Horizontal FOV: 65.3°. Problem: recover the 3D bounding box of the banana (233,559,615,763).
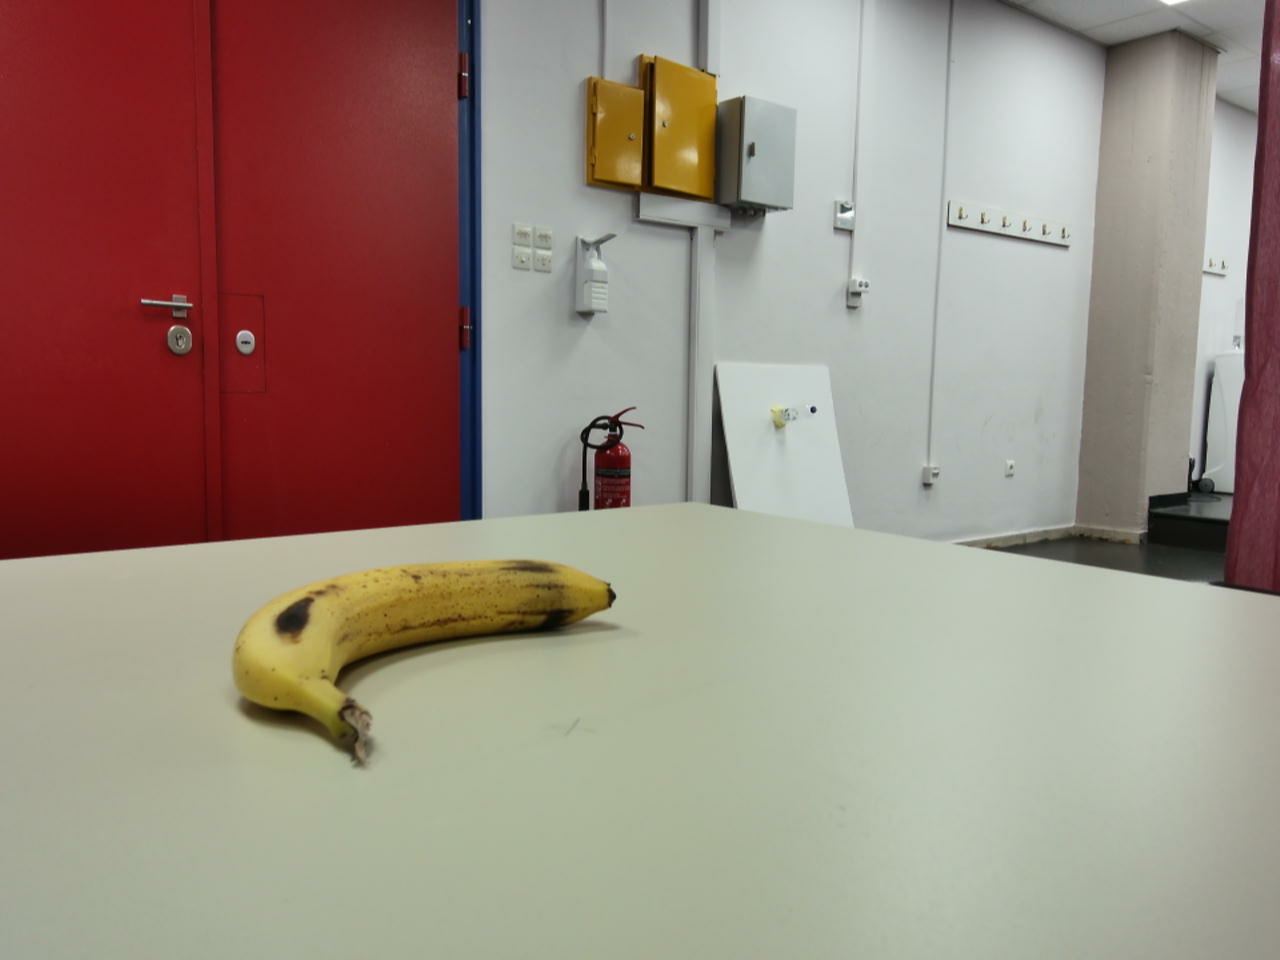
[{"bbox_3d":[-0.091,0.059,0.411,0.097,0.038,0.186,2,4,24],"label":"banana"}]
